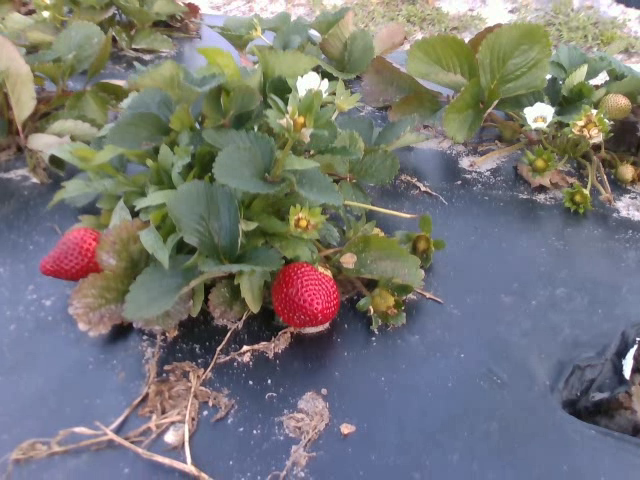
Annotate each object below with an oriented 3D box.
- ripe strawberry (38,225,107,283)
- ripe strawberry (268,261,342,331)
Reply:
[{"bbox_3d":[-0.163,0.013,0.406,0.043,0.043,0.050,32,48,32],"label":"ripe strawberry"},{"bbox_3d":[-0.009,0.034,0.359,0.043,0.047,0.046,-37,25,-6],"label":"ripe strawberry"}]
